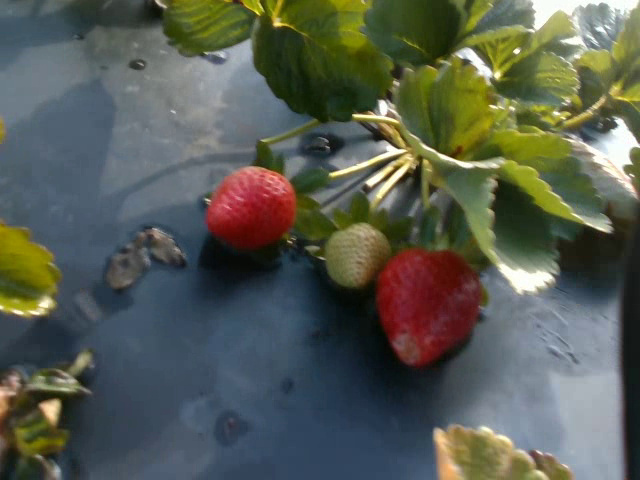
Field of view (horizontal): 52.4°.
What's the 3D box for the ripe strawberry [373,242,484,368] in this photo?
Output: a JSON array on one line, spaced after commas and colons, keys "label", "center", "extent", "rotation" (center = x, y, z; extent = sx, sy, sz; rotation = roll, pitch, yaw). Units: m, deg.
[{"label": "ripe strawberry", "center": [0.044, 0.031, 0.272], "extent": [0.048, 0.065, 0.050], "rotation": [-11, -48, 39]}]
